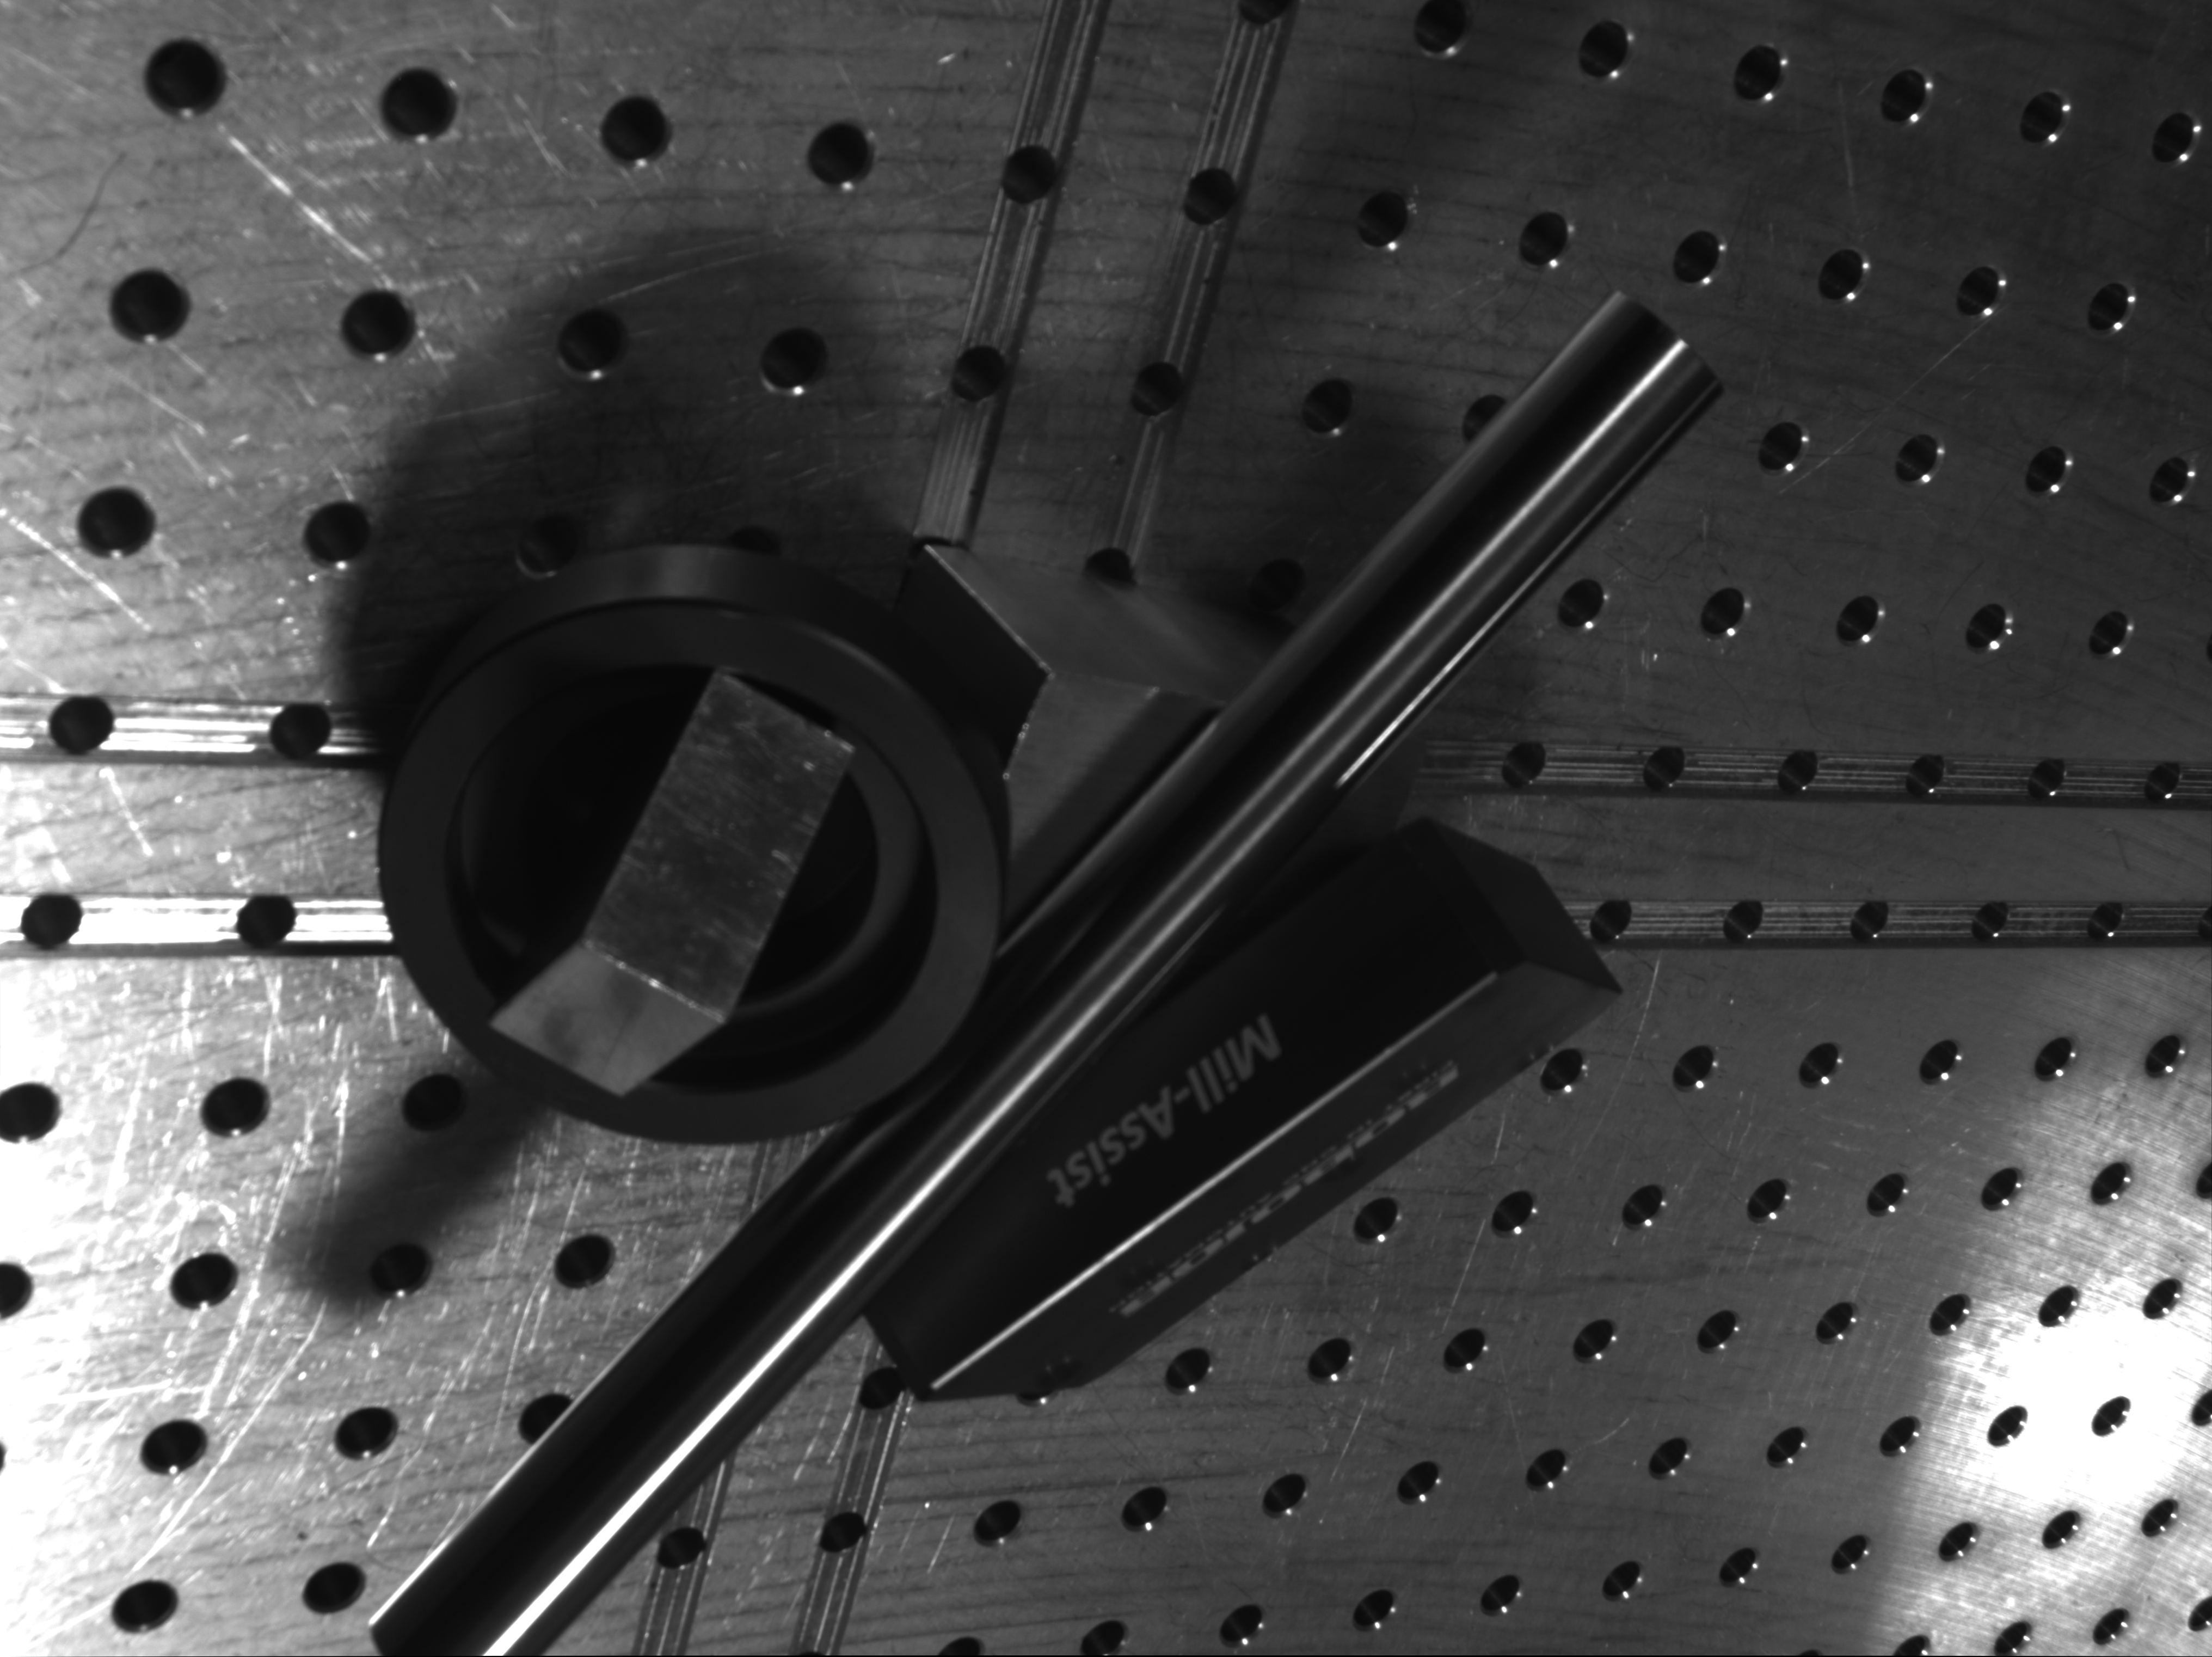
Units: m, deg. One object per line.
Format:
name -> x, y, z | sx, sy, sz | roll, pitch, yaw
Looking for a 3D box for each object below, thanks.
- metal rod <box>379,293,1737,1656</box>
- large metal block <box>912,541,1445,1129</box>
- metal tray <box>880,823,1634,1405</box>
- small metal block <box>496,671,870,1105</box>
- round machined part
metal rod -> -0.009, 0.031, 0.602 | 0.300, 0.025, 0.025 | -47, 130, 3
large metal block -> 0.000, 0.003, 0.639 | 0.080, 0.050, 0.080 | 10, 113, -34
metal tray -> 0.026, 0.053, 0.655 | 0.130, 0.030, 0.090 | -37, 163, 12
small metal block -> -0.066, 0.010, 0.569 | 0.025, 0.050, 0.050 | 31, 62, -14
round machined part -> -0.063, 0.000, 0.589 | 0.098, 0.042, 0.098 | -1, 118, -1
